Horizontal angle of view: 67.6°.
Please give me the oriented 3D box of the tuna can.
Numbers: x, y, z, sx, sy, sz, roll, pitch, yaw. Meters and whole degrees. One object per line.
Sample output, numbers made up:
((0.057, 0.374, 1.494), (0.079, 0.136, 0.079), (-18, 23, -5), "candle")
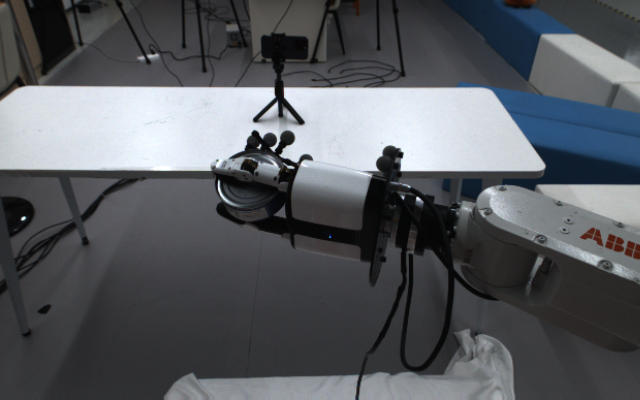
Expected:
((-0.079, -0.019, 0.584), (0.085, 0.034, 0.085), (-4, 56, 6), "tuna can")
